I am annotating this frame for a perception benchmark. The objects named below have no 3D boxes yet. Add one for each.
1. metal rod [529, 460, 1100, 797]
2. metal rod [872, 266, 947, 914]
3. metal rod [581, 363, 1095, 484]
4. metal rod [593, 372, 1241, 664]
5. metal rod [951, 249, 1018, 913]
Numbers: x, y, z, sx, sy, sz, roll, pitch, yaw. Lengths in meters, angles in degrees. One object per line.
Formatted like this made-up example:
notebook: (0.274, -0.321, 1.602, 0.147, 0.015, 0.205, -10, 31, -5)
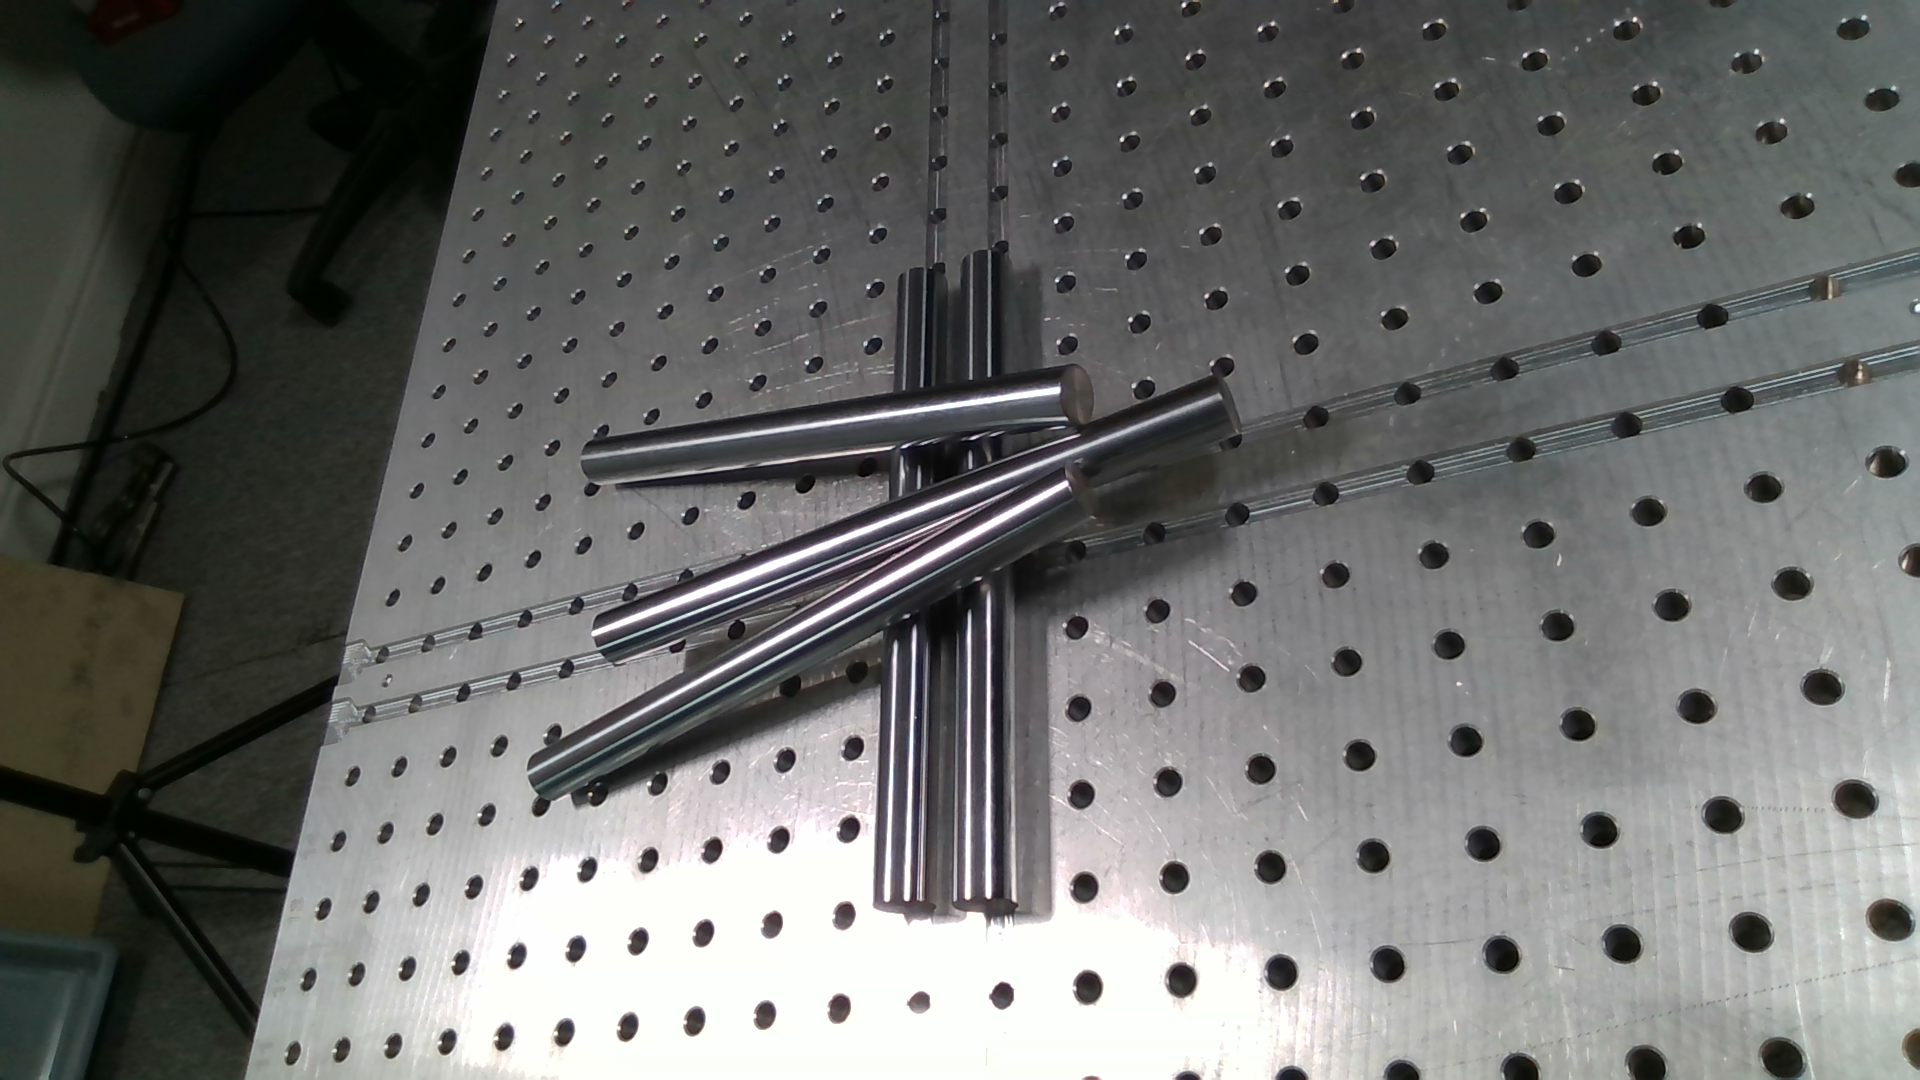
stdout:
metal rod: (-0.073, 0.045, 0.585, 0.300, 0.025, 0.025, -29, 53, 25)
metal rod: (-0.020, 0.008, 0.597, 0.025, 0.025, 0.299, -14, 59, 25)
metal rod: (-0.072, -0.049, 0.635, 0.300, 0.025, 0.025, -4, 63, 38)
metal rod: (-0.029, -0.003, 0.577, 0.300, 0.025, 0.025, -20, 56, 22)
metal rod: (0.011, 0.003, 0.581, 0.025, 0.025, 0.299, -14, 59, 25)
